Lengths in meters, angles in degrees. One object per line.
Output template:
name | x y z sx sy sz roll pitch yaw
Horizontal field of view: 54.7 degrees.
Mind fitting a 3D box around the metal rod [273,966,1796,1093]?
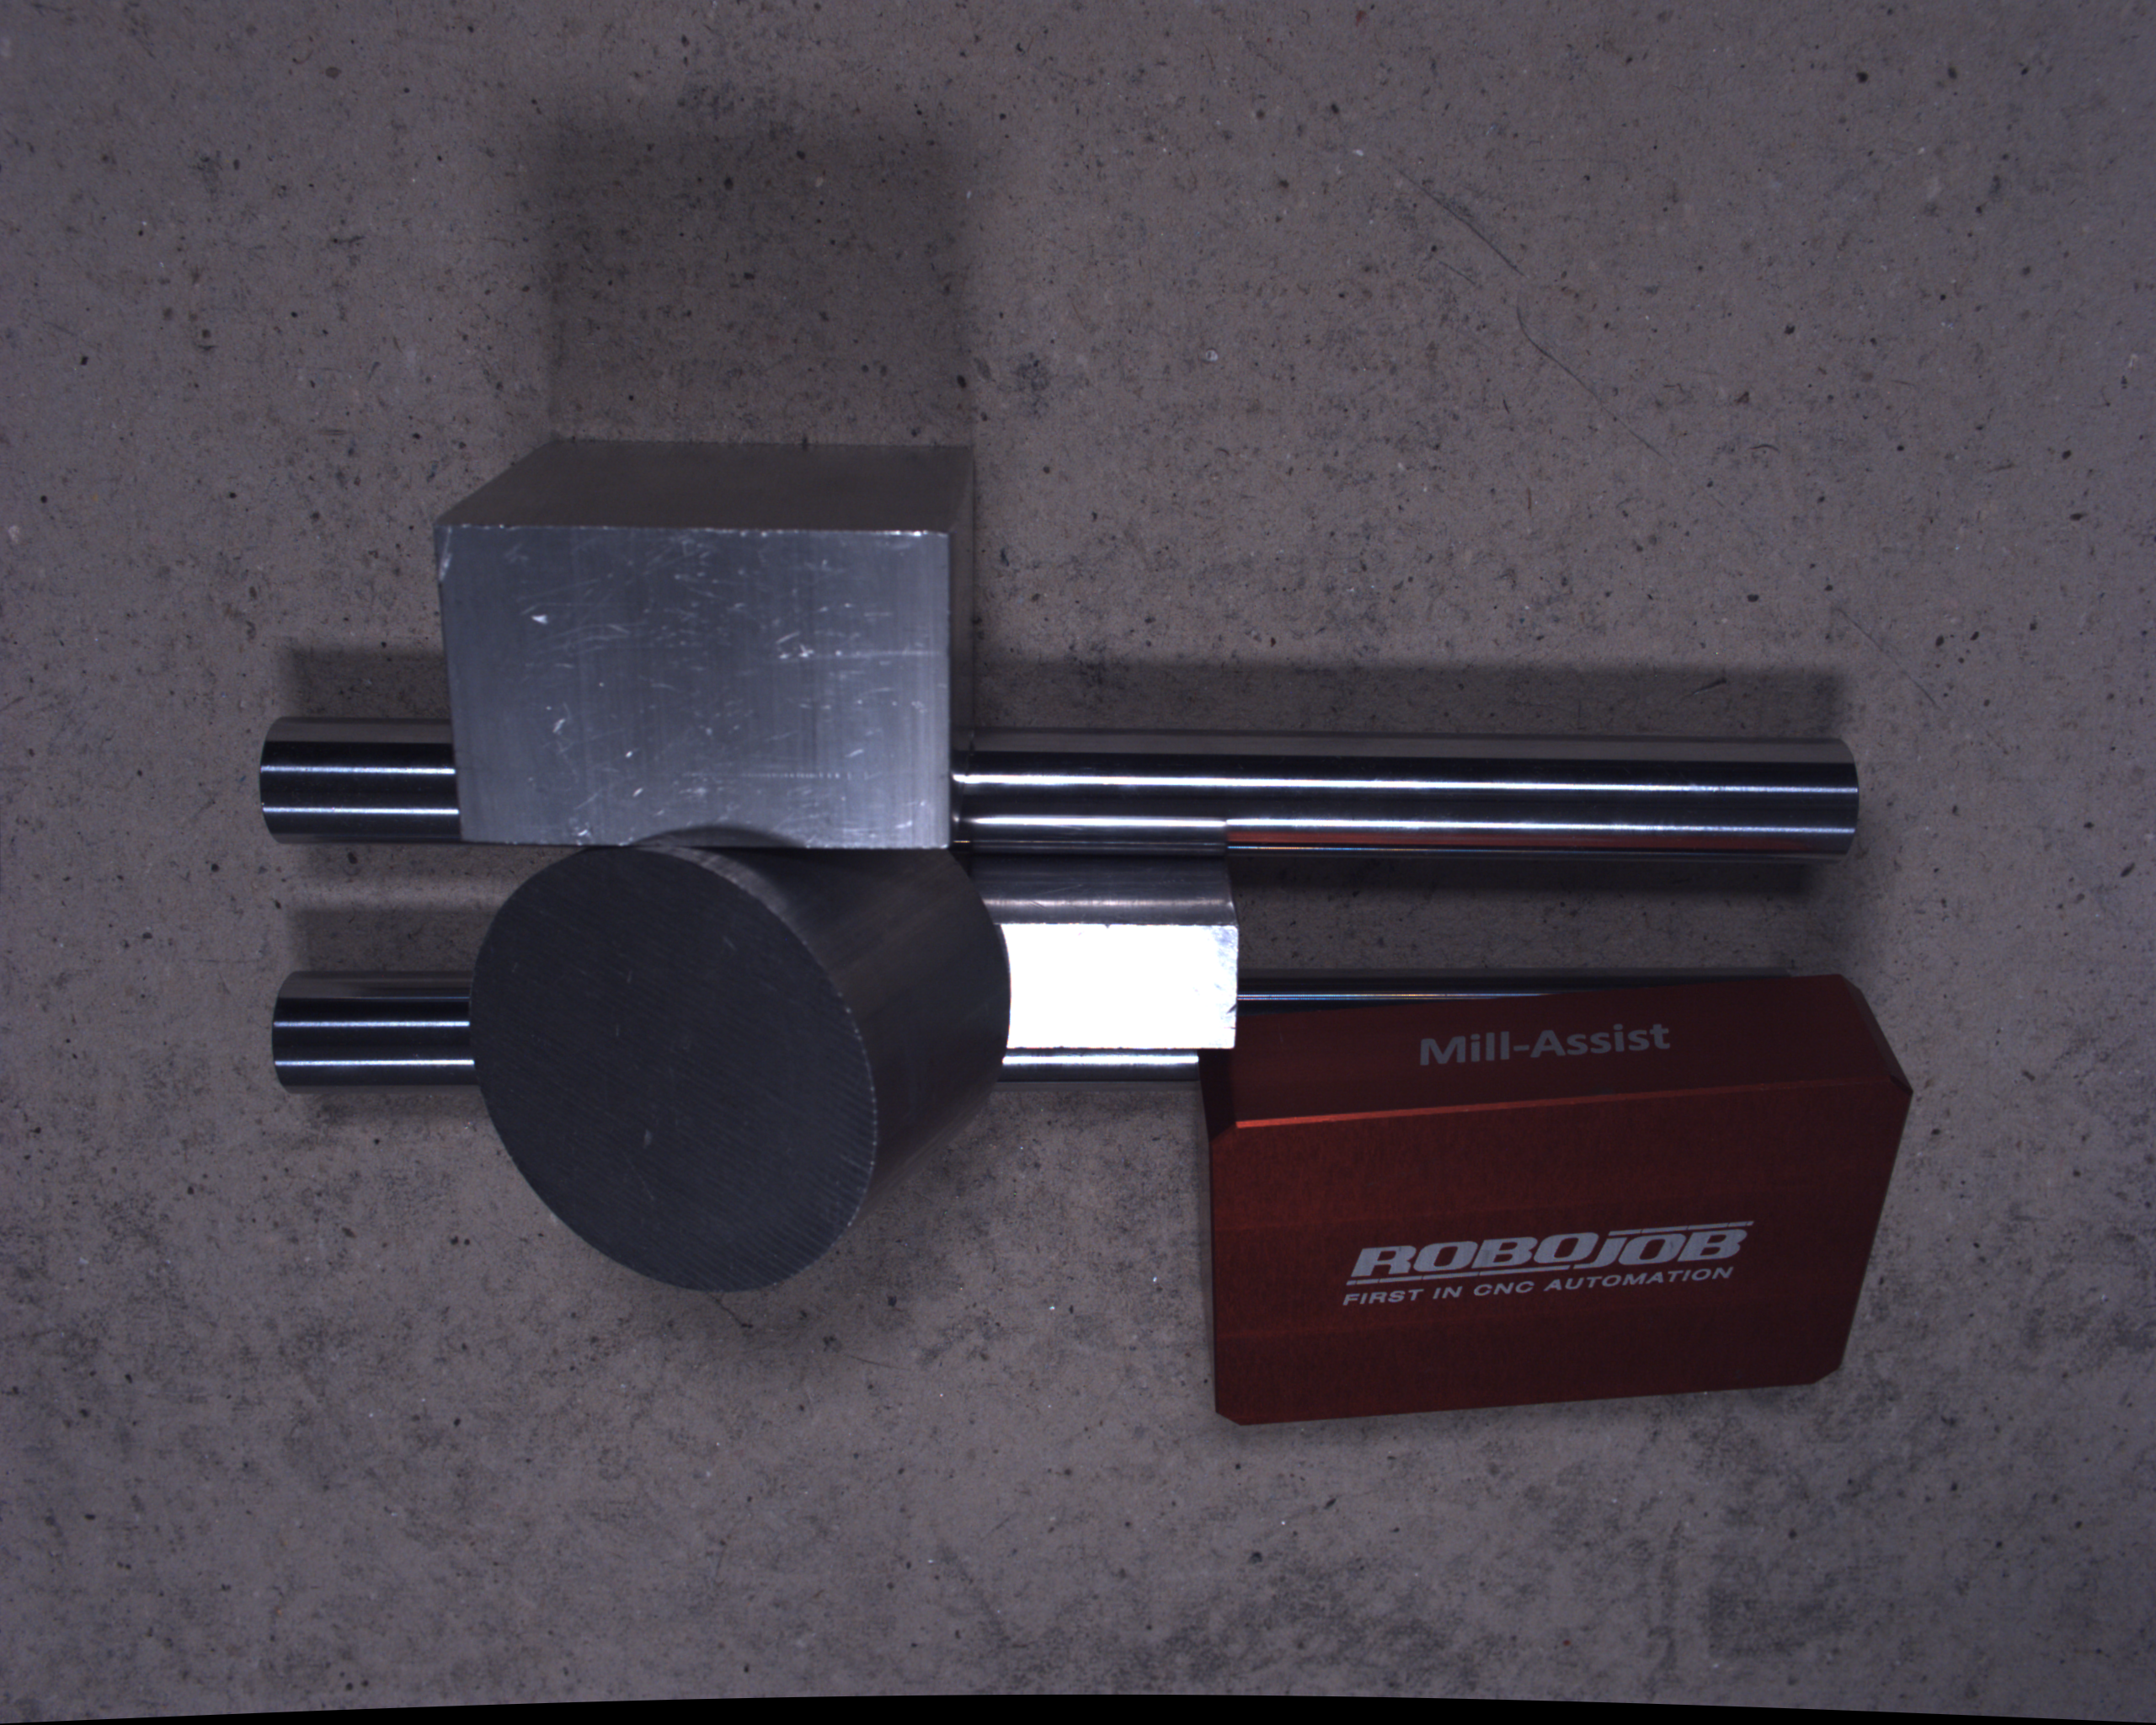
metal rod | -0.007 0.034 0.424 0.302 0.025 0.025 0 110 -1

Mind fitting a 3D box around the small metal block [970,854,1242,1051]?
small metal block | 0.004 0.014 0.402 0.050 0.050 0.025 1 110 -1

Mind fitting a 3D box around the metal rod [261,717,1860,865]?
metal rod | -0.002 -0.014 0.406 0.302 0.025 0.025 1 110 -1

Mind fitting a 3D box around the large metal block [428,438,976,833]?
large metal block | -0.060 -0.042 0.366 0.081 0.080 0.050 1 110 -1

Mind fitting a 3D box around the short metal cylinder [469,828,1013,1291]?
short metal cylinder | -0.059 0.028 0.369 0.080 0.050 0.079 8 110 22

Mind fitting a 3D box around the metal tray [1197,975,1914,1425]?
metal tray | 0.091 0.070 0.420 0.131 0.030 0.089 -4 128 -1
